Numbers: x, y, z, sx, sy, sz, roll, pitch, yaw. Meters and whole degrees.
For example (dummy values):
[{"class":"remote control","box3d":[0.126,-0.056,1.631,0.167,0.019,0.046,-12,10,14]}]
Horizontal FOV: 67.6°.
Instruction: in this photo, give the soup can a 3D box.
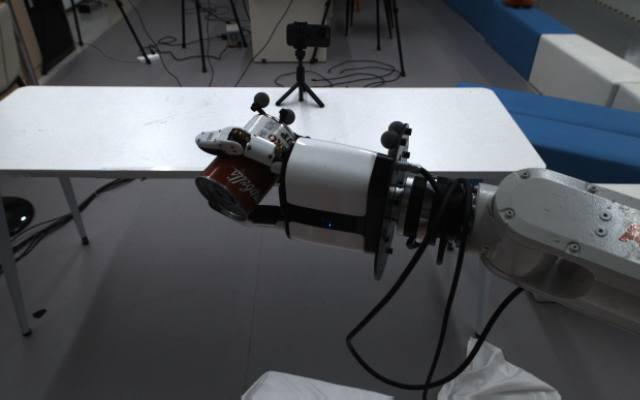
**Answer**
[{"class":"soup can","box3d":[-0.075,-0.036,0.523,0.067,0.067,0.101,23,61,27]}]
